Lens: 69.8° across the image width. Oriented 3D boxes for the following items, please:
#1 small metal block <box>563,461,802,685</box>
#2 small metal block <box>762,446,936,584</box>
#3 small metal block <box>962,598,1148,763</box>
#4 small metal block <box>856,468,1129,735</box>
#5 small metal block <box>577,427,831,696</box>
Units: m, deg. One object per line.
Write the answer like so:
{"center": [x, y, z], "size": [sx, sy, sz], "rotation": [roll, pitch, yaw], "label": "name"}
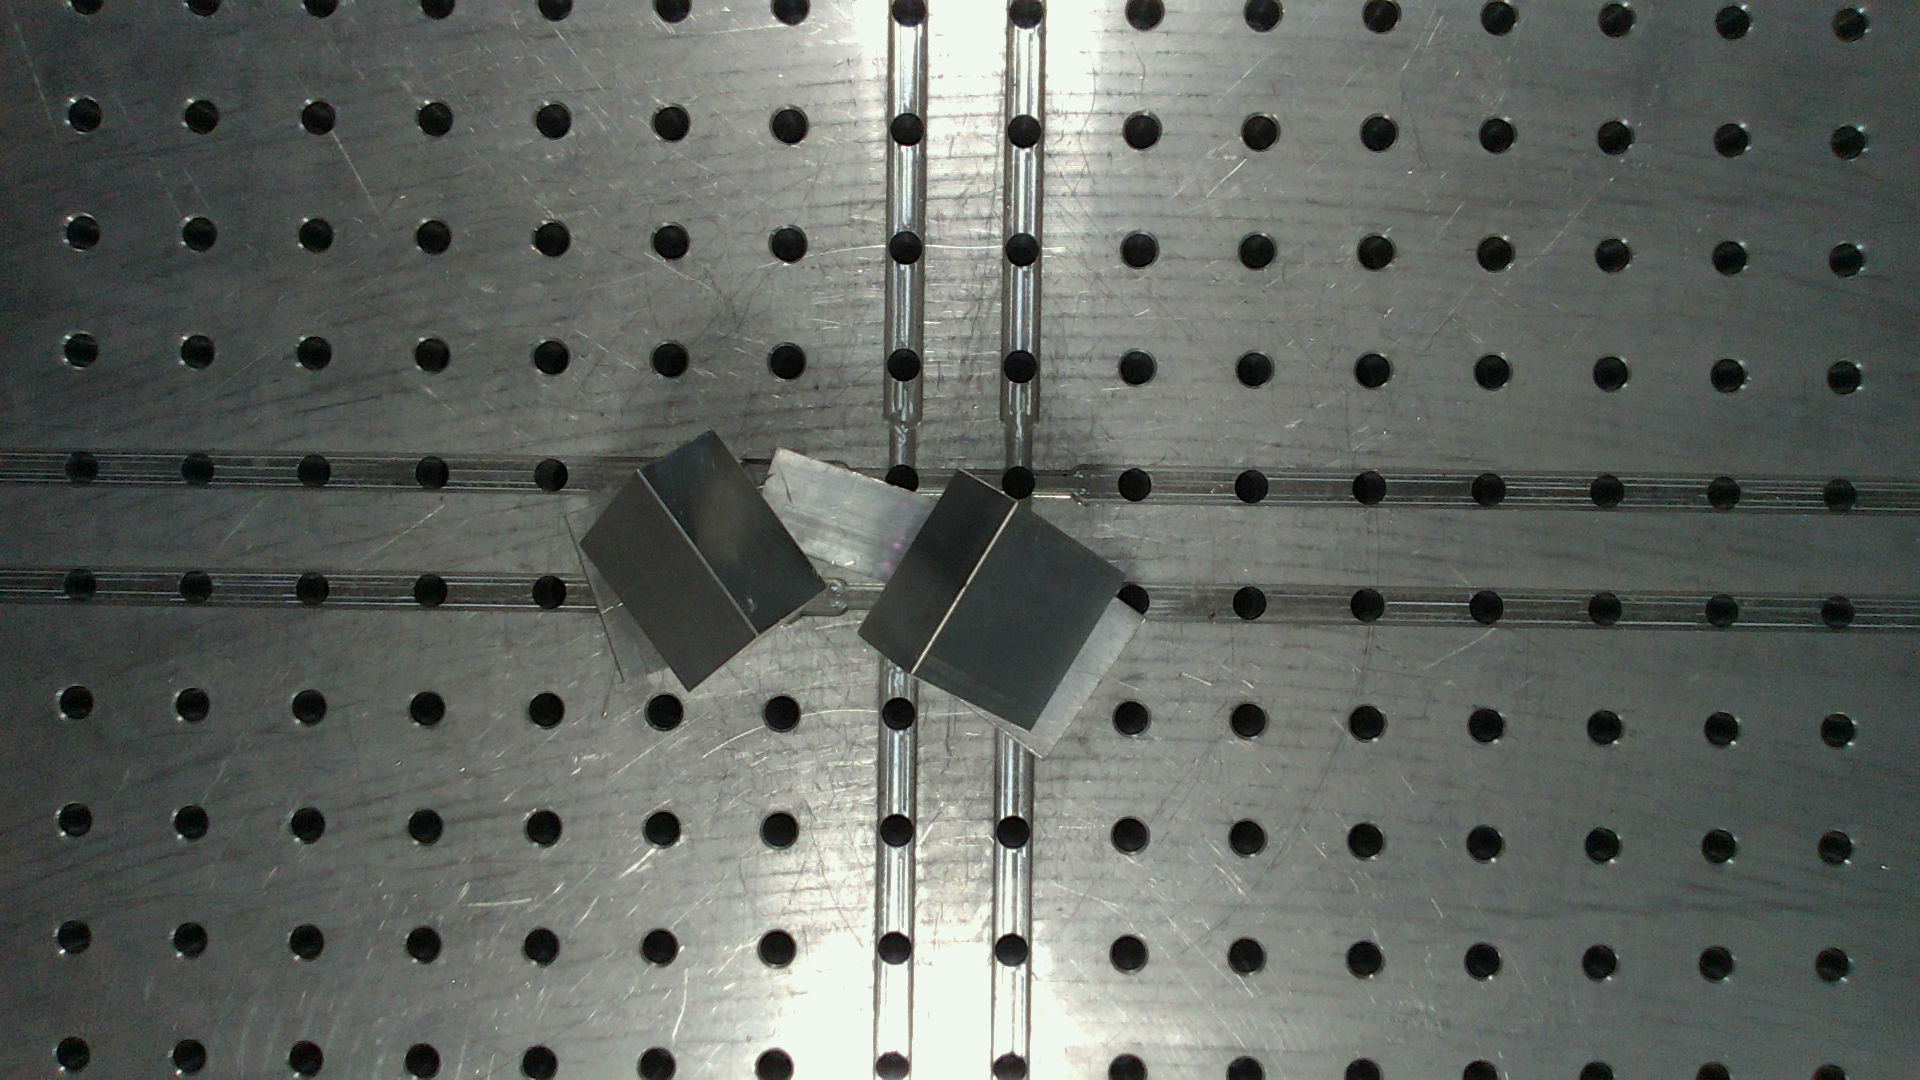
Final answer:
{"center": [-0.079, 0.009, 0.398], "size": [0.050, 0.025, 0.050], "rotation": [-20, 90, 0], "label": "small metal block"}
{"center": [-0.028, -0.005, 0.385], "size": [0.050, 0.050, 0.025], "rotation": [19, 90, 0], "label": "small metal block"}
{"center": [0.018, 0.028, 0.398], "size": [0.050, 0.025, 0.050], "rotation": [35, 90, 0], "label": "small metal block"}
{"center": [0.009, 0.017, 0.359], "size": [0.050, 0.025, 0.050], "rotation": [31, 90, -44], "label": "small metal block"}
{"center": [-0.068, 0.007, 0.357], "size": [0.025, 0.050, 0.050], "rotation": [-37, 90, -38], "label": "small metal block"}
